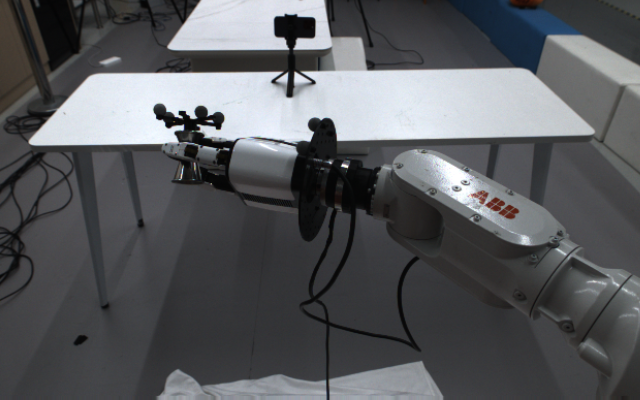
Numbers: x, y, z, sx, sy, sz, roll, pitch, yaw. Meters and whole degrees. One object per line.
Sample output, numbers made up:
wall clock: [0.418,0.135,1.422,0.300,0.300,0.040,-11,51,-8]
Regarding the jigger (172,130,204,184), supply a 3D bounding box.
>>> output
jigger: [-0.180,-0.056,0.659,0.043,0.071,0.043,1,-4,0]
